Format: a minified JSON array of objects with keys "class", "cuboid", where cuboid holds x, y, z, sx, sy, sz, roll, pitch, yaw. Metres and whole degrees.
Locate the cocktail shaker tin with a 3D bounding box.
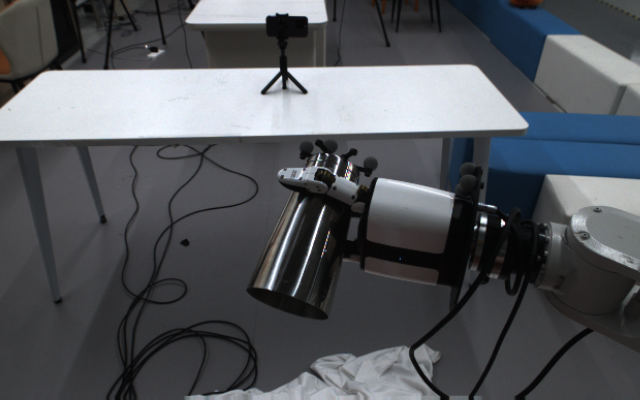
[{"class":"cocktail shaker tin","cuboid":[-0.006,0.033,0.538,0.093,0.093,0.170,12,65,14]}]
